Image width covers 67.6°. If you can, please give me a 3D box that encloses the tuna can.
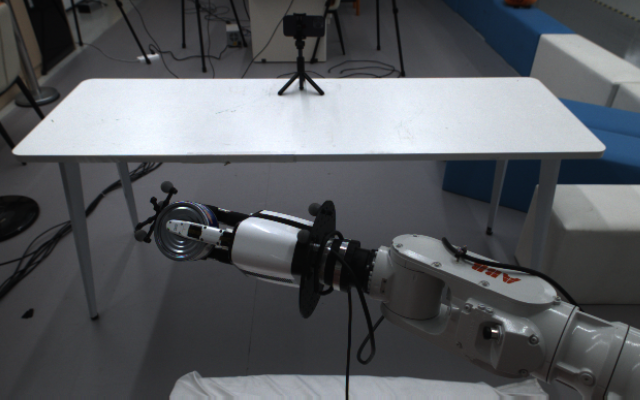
[{"bbox_3d":[-0.187,0.044,0.686,0.085,0.085,0.034,8,-2,8],"label":"tuna can"}]
